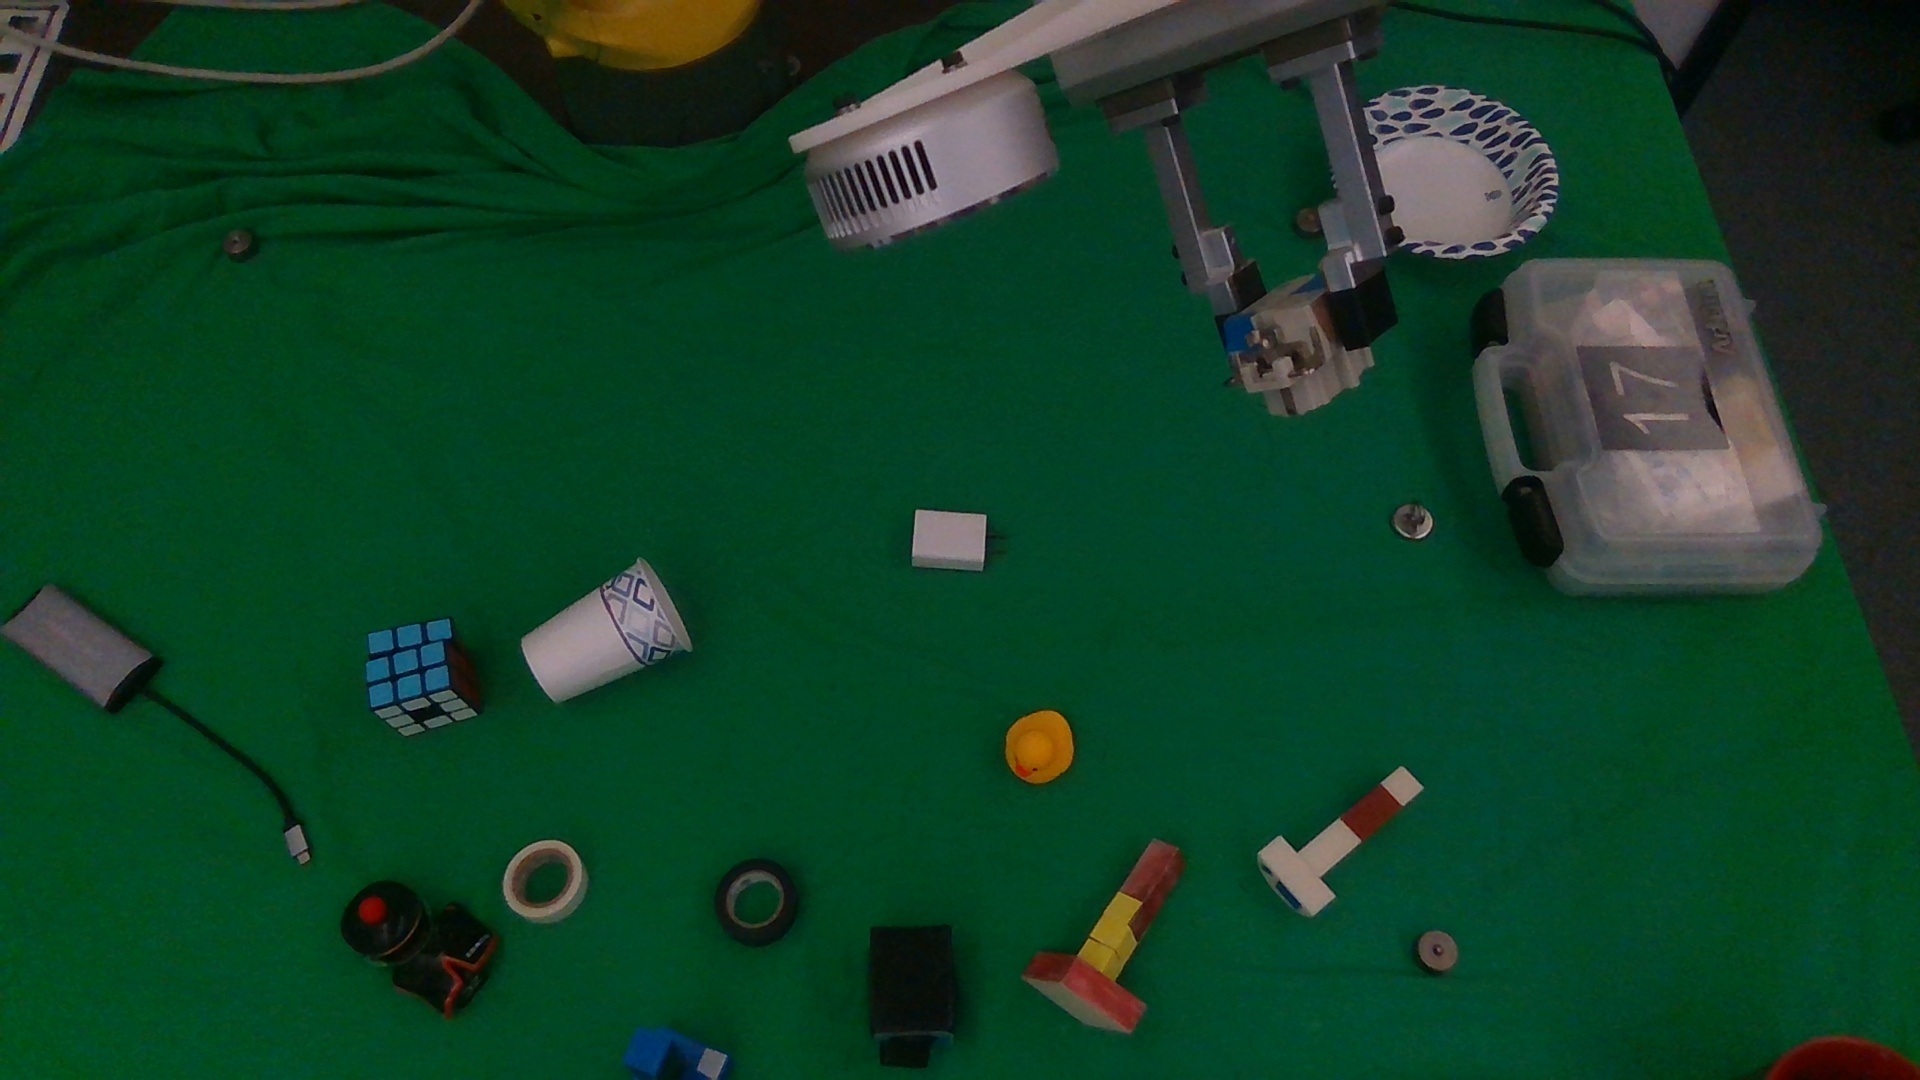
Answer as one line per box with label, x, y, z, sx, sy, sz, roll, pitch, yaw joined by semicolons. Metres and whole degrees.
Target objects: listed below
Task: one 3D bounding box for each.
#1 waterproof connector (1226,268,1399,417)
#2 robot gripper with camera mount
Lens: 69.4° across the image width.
waterproof connector;0.117;-0.065;0.459;0.065;0.035;0.037;-32;106;-42
robot gripper with camera mount;0.040;-0.097;0.383;0.119;0.158;0.193;-2;25;45
